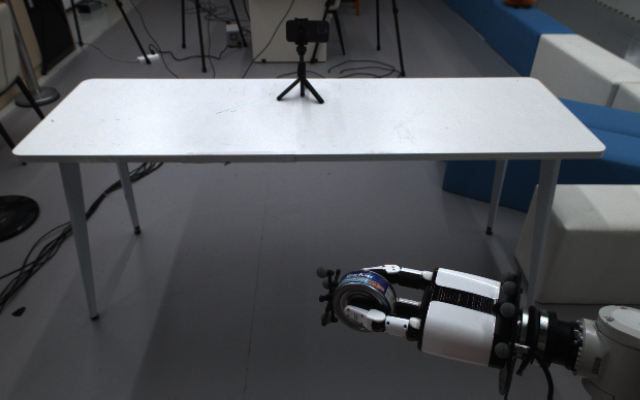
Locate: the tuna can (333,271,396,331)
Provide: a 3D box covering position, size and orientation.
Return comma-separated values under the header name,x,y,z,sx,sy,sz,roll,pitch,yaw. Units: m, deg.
name,x,y,z,sx,sy,sz,roll,pitch,yaw
tuna can,0.064,0.144,0.672,0.085,0.085,0.034,12,28,14
